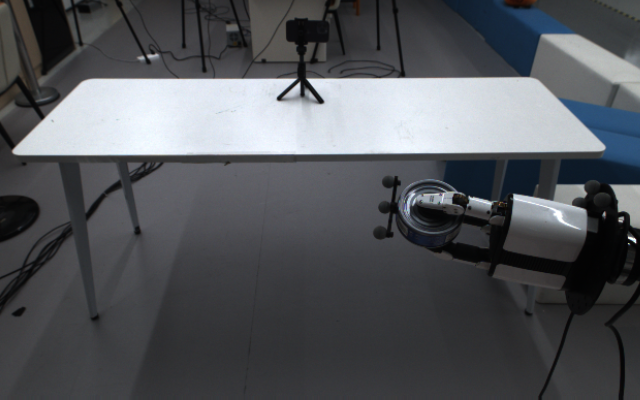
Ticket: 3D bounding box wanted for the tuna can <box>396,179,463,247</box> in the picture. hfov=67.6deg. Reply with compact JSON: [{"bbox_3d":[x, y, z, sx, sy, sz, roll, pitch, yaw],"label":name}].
[{"bbox_3d":[0.144,0.014,0.624,0.085,0.034,0.085,-2,57,3],"label":"tuna can"}]
